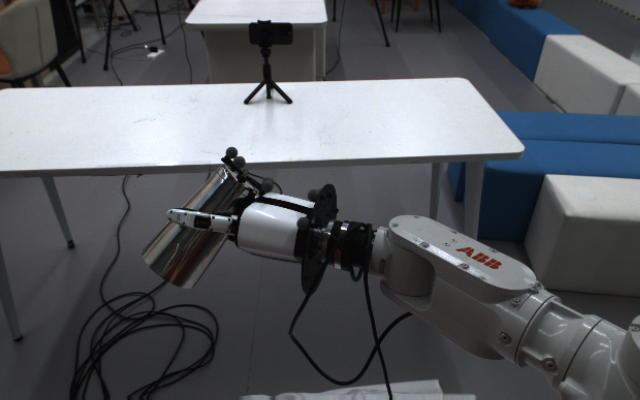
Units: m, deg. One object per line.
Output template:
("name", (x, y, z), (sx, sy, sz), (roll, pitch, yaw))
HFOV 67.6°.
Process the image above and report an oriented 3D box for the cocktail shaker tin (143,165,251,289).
("cocktail shaker tin", (-0.168, 0.032, 0.707), (0.170, 0.093, 0.093), (-50, 46, 4))
